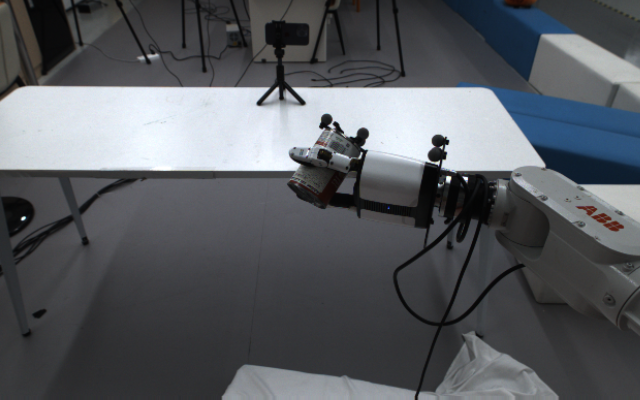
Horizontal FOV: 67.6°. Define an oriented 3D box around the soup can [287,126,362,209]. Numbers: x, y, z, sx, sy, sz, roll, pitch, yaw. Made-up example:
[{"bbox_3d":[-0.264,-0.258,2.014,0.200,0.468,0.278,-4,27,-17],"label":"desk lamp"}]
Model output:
[{"bbox_3d":[0.007,-0.046,0.719,0.067,0.067,0.101,27,78,31],"label":"soup can"}]
